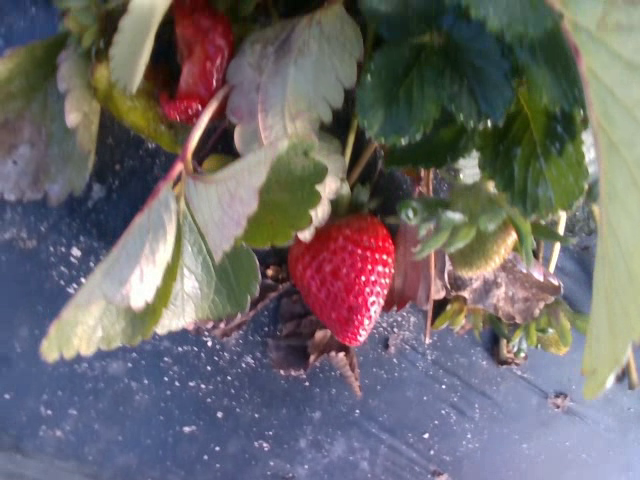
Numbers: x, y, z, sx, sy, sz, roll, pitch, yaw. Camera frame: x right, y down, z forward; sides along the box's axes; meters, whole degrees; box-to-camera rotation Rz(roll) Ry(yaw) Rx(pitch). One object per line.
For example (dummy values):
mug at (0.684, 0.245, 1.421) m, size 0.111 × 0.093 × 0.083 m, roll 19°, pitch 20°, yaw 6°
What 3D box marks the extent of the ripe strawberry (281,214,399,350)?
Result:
ripe strawberry at (0.004, 0.011, 0.139) m, size 0.031 × 0.030 × 0.026 m, roll -6°, pitch -4°, yaw 0°
